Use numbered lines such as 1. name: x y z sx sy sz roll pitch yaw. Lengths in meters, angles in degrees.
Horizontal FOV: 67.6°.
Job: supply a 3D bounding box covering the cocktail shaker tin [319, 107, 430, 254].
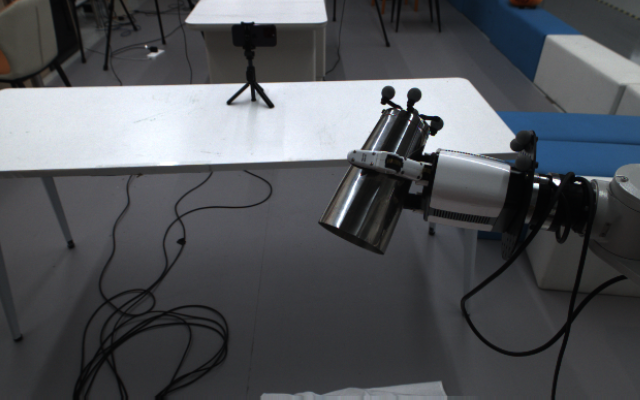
1. cocktail shaker tin: 0.078 -0.030 0.615 0.093 0.093 0.170 21 81 25
